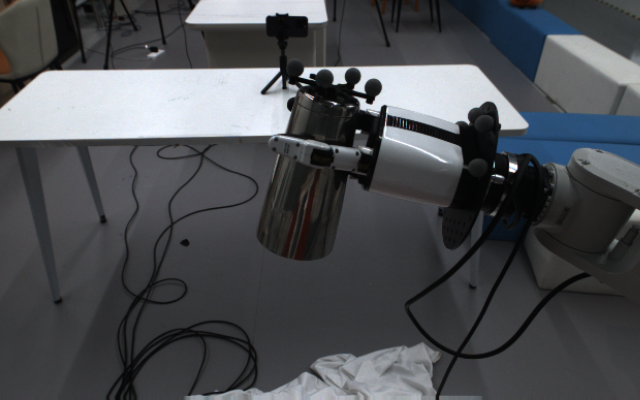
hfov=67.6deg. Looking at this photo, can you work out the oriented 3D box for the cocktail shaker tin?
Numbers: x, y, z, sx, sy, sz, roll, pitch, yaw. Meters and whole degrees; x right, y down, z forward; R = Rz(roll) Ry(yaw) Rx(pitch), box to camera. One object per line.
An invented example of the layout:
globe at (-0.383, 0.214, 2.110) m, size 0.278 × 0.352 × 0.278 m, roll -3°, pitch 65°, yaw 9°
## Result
cocktail shaker tin at (-0.006, -0.033, 0.527) m, size 0.093 × 0.170 × 0.093 m, roll 12°, pitch 25°, yaw -6°
